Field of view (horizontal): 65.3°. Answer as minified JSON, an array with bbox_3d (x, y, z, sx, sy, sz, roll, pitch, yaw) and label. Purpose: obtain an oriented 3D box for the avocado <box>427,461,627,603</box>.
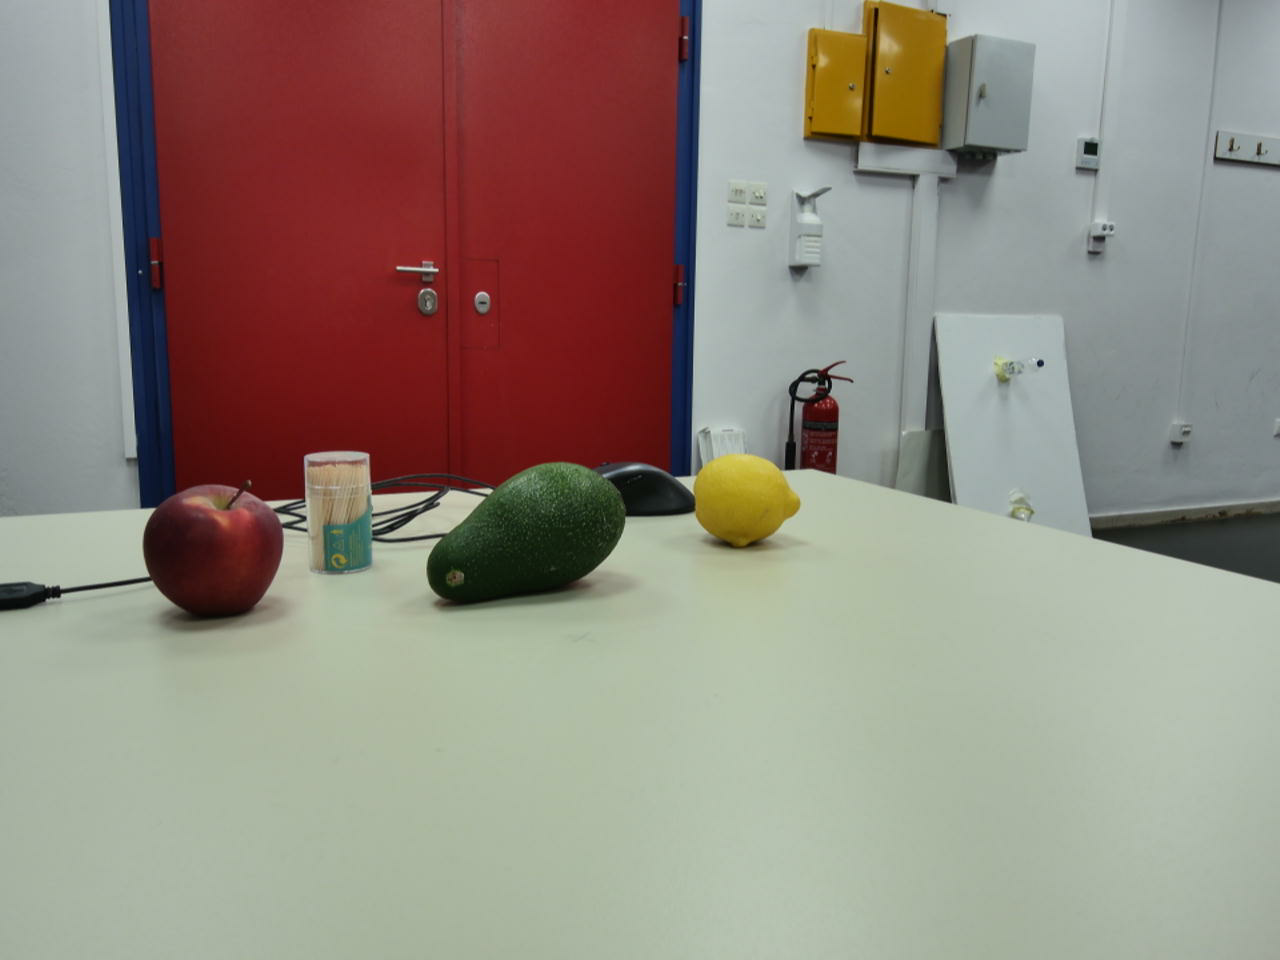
[{"bbox_3d":[-0.067,0.028,0.594,0.123,0.076,0.074,-2,8,-19],"label":"avocado"}]
